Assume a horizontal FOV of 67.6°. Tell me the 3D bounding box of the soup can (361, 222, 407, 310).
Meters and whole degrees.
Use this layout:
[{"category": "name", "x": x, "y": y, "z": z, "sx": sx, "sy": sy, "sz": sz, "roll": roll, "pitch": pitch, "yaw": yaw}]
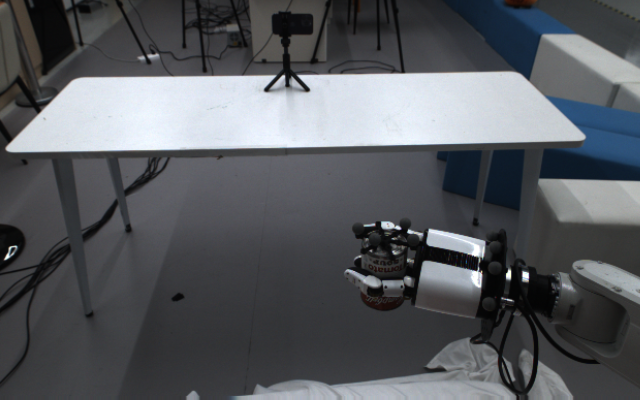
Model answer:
[{"category": "soup can", "x": 0.095, "y": 0.103, "z": 0.712, "sx": 0.067, "sy": 0.101, "sz": 0.067, "roll": -2, "pitch": 32, "yaw": 1}]
